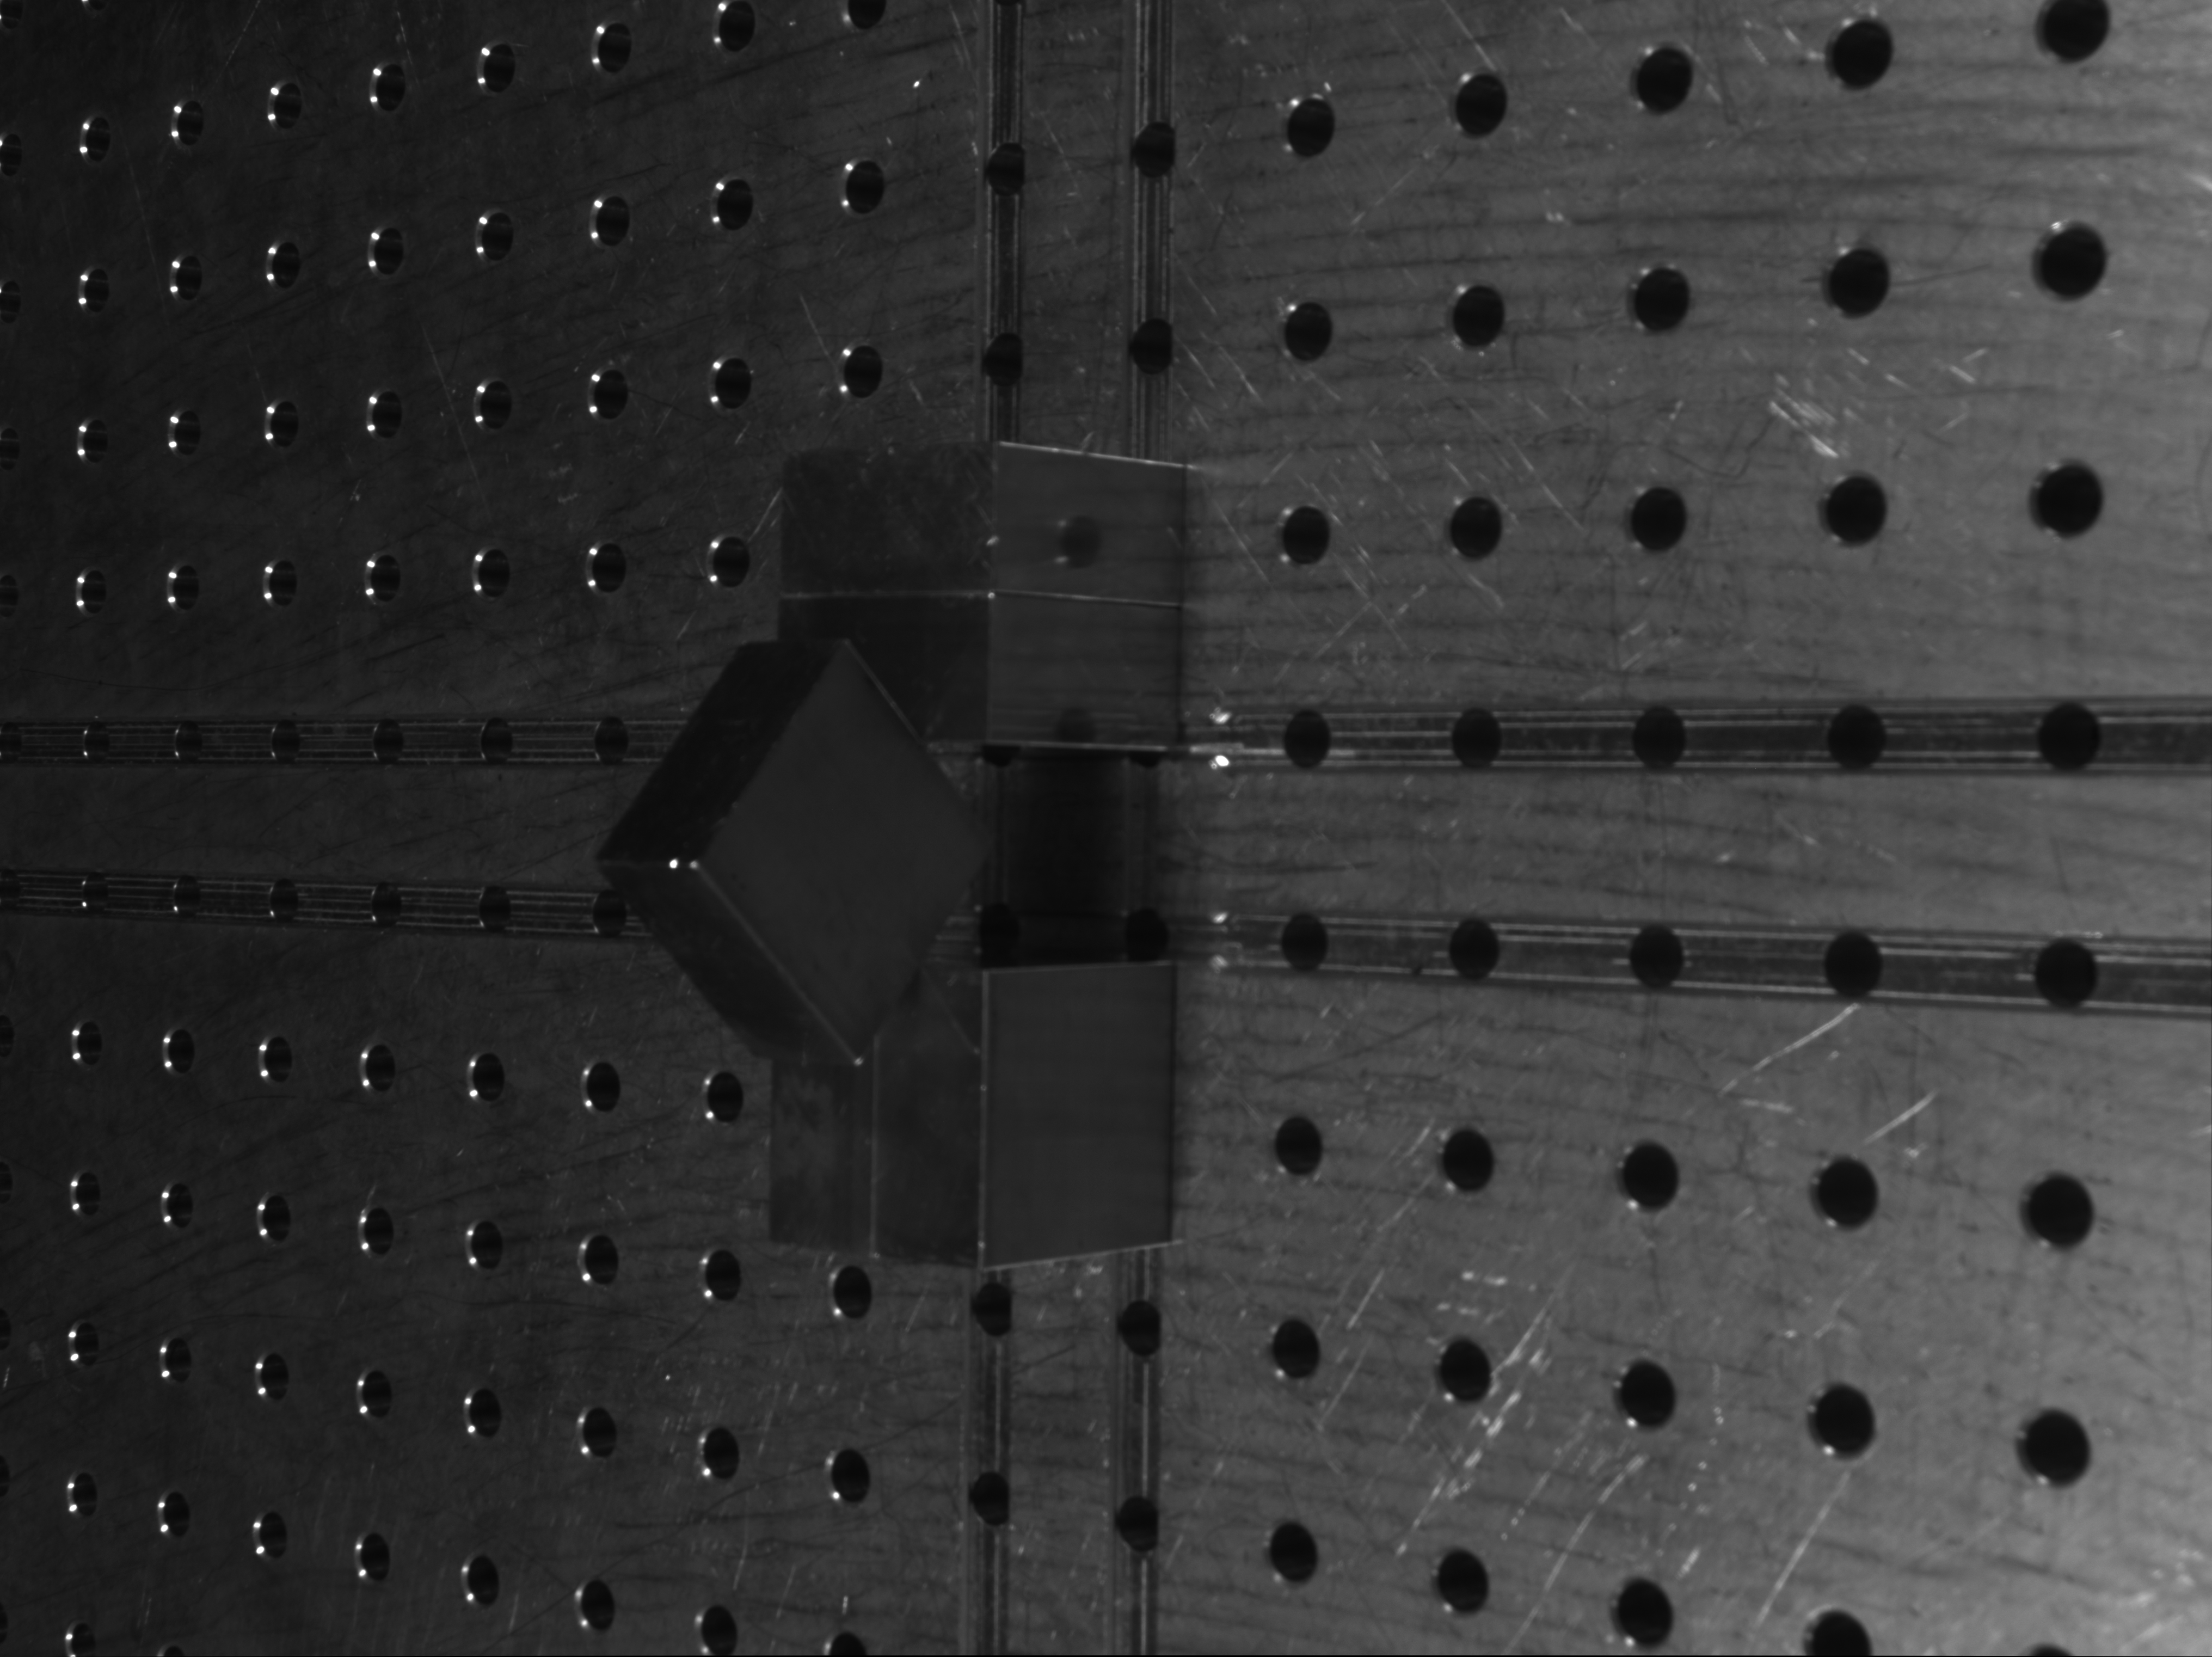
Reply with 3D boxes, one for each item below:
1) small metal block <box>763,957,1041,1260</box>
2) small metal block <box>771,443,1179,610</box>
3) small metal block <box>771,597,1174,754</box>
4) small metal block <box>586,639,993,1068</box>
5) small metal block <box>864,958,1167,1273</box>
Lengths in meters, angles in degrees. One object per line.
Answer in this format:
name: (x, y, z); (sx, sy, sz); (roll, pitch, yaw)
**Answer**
small metal block: (-0.034, 0.048, 0.651); (0.025, 0.050, 0.050); (2, 91, 39)
small metal block: (-0.023, -0.052, 0.641); (0.050, 0.050, 0.025); (3, 91, 39)
small metal block: (-0.023, -0.027, 0.642); (0.050, 0.050, 0.025); (3, 91, 39)
small metal block: (-0.052, 0.004, 0.612); (0.025, 0.050, 0.050); (1, 48, 40)
small metal block: (-0.015, 0.049, 0.634); (0.025, 0.050, 0.050); (2, 91, 39)
